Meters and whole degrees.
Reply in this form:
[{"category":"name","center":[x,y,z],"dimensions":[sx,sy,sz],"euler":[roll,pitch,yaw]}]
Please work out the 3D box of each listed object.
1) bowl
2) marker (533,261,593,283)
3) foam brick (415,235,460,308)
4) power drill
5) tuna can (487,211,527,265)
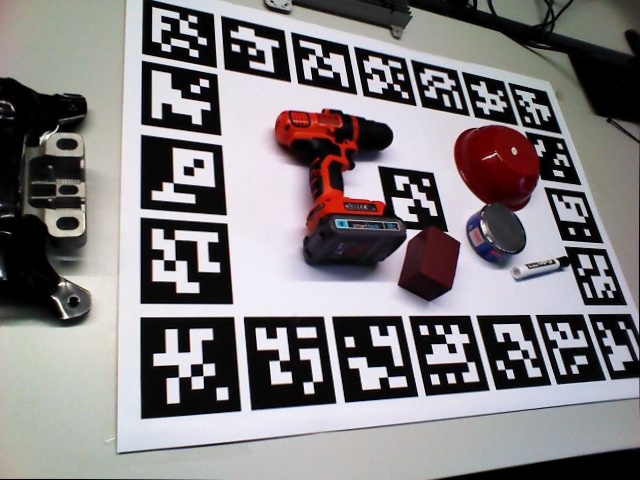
[{"category":"bowl","center":[0.320,-0.122,0.838],"dimensions":[0.161,0.055,0.160],"euler":[10,56,-16]},{"category":"marker","center":[0.373,0.048,0.787],"dimensions":[0.120,0.020,0.019],"euler":[-7,71,-28]},{"category":"foam brick","center":[0.168,0.042,0.685],"dimensions":[0.051,0.053,0.077],"euler":[26,59,-13]},{"category":"power drill","center":[0.050,-0.068,0.678],"dimensions":[0.184,0.058,0.186],"euler":[3,62,-27]},{"category":"tuna can","center":[0.291,-0.006,0.768],"dimensions":[0.085,0.034,0.085],"euler":[11,62,-22]}]
